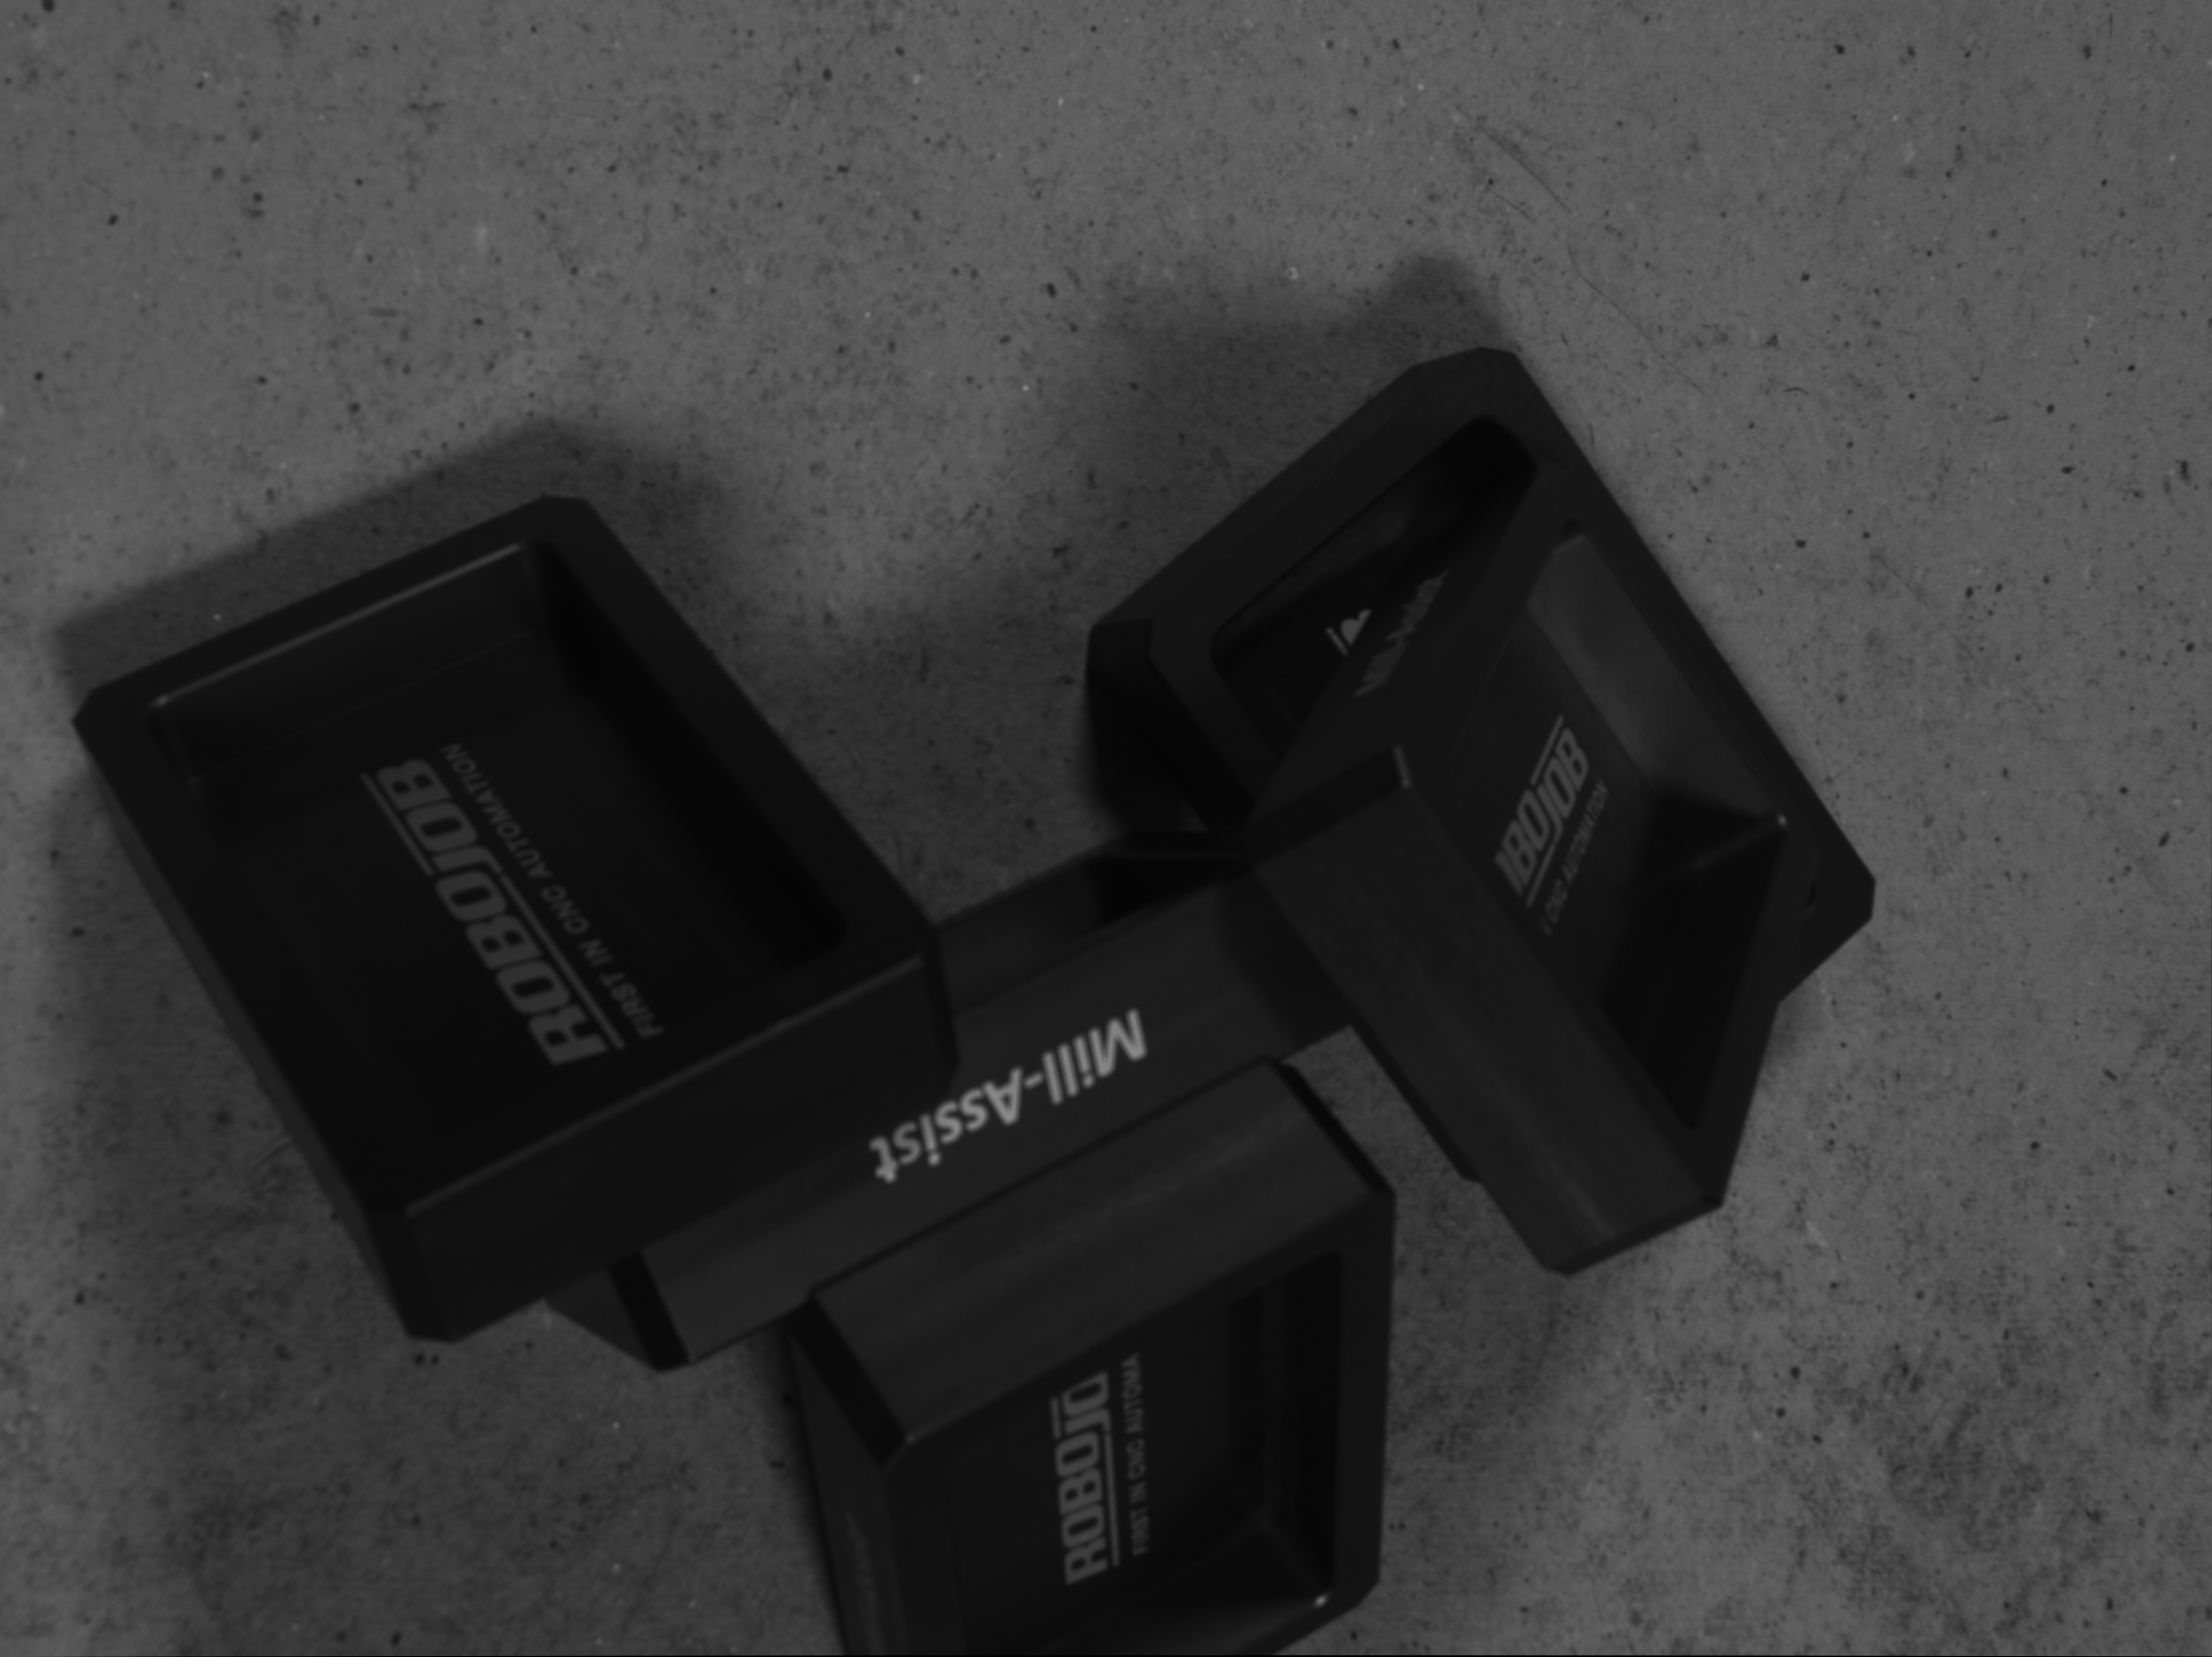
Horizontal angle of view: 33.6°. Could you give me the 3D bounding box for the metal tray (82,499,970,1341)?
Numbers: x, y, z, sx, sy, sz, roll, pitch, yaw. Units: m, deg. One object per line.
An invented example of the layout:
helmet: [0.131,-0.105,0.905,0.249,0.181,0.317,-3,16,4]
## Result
metal tray: [-0.091,0.009,0.560,0.090,0.130,0.030,-26,137,-18]

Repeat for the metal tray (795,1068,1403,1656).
metal tray: [0.002,0.105,0.598,0.090,0.030,0.130,-26,143,-18]

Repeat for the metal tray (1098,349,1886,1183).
metal tray: [0.071,-0.009,0.667,0.090,0.030,0.130,-40,103,-16]

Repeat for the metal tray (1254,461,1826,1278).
metal tray: [0.077,0.003,0.612,0.090,0.030,0.130,54,29,-12]

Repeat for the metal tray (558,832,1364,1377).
metal tray: [-0.029,0.041,0.598,0.130,0.090,0.030,-26,98,-18]
